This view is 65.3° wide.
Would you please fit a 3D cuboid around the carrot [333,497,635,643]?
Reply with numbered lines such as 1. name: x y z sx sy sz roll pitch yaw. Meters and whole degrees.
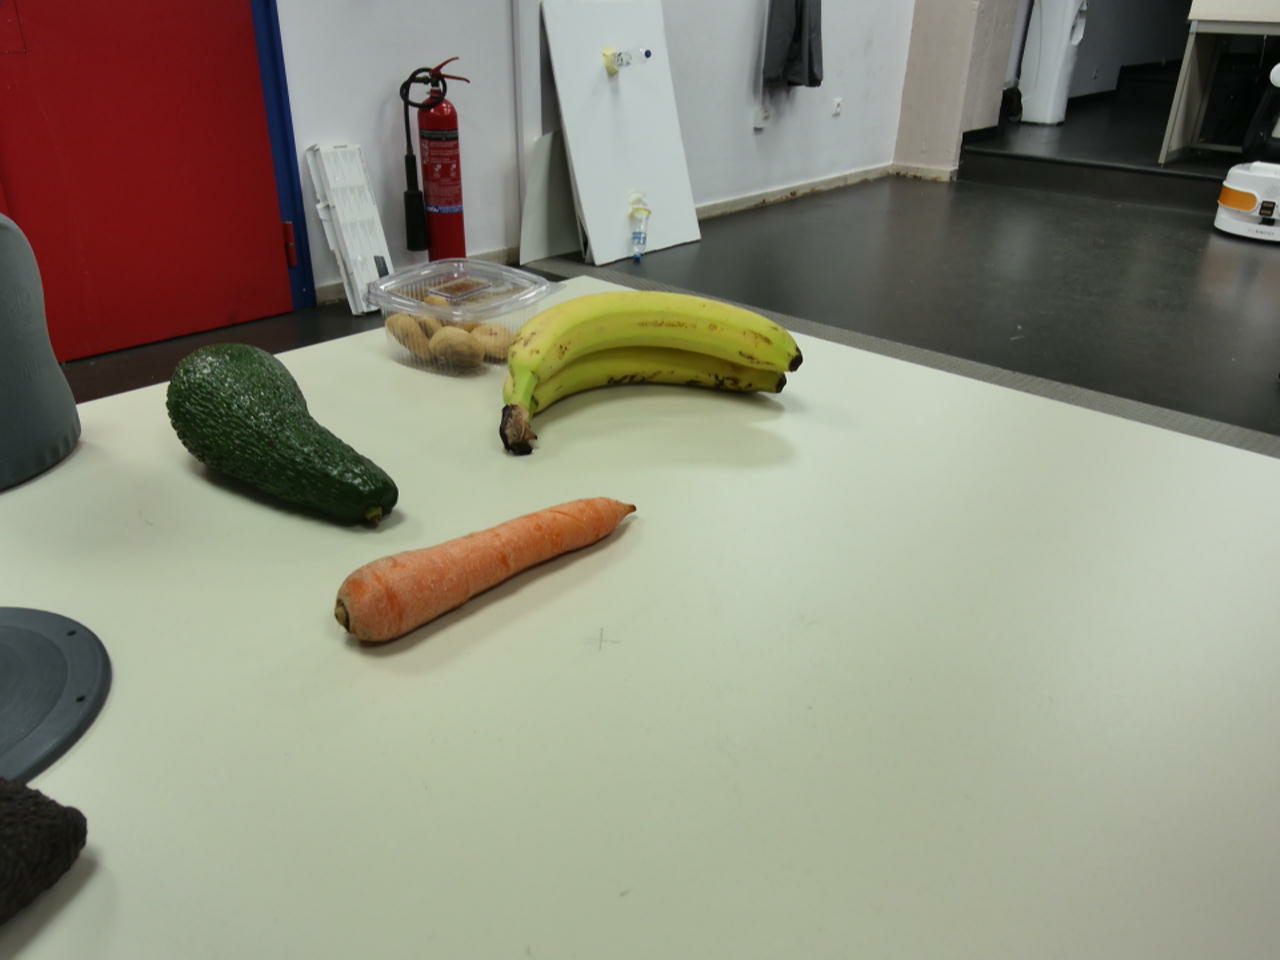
1. carrot: -0.073 0.035 0.526 0.039 0.041 0.196 21 32 37
